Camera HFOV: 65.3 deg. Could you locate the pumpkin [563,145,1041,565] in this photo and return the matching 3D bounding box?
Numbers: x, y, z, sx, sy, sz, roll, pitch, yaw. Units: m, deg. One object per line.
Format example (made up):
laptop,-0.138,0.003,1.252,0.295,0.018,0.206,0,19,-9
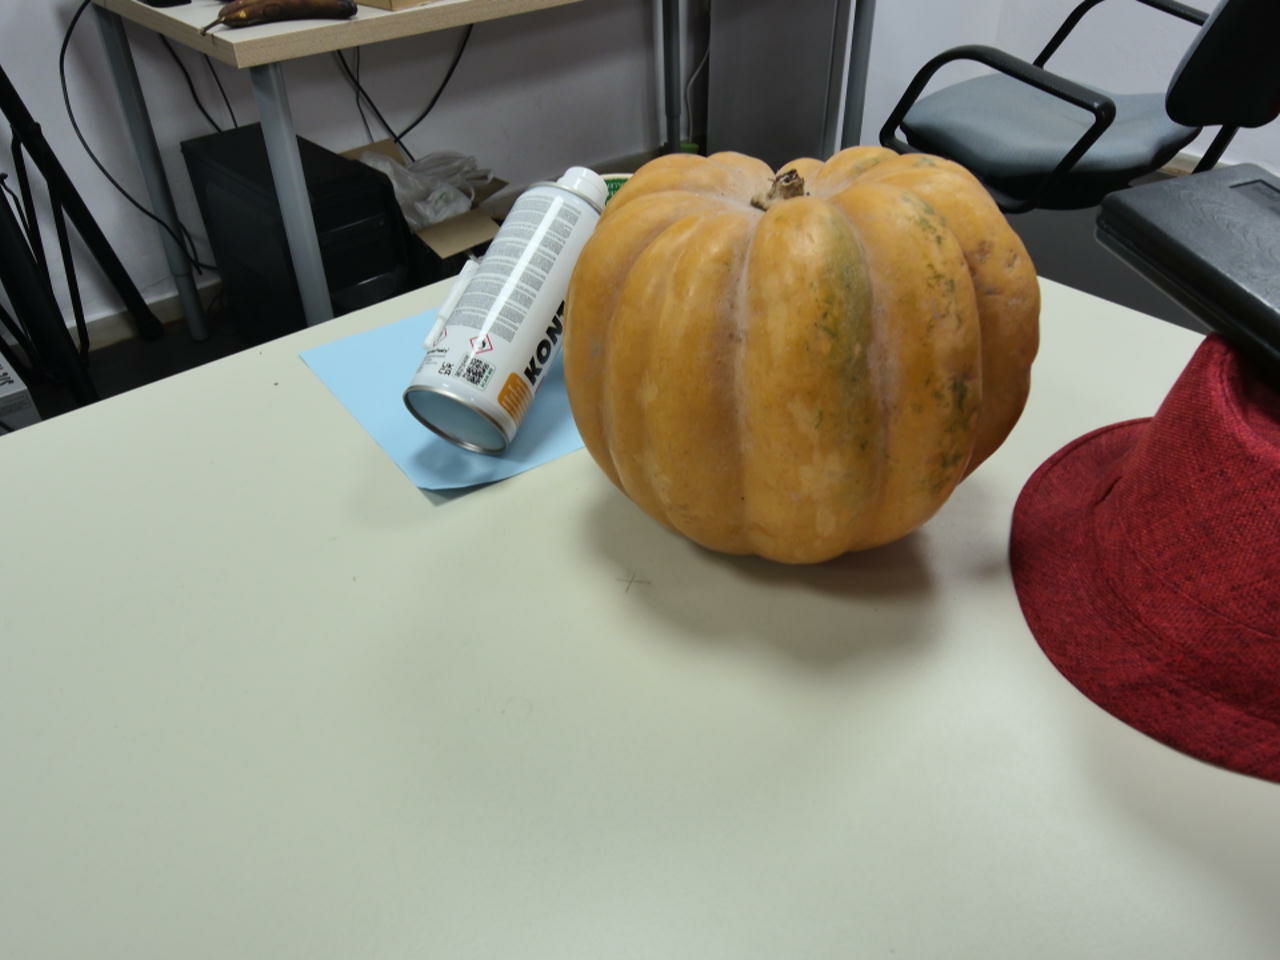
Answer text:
pumpkin,0.074,-0.064,0.494,0.230,0.194,0.230,0,36,0
